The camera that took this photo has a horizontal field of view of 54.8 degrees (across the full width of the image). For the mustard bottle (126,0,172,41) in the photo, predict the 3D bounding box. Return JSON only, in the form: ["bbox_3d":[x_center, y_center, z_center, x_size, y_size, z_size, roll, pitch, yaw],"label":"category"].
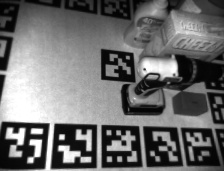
[{"bbox_3d":[0.109,-0.198,0.591,0.096,0.191,0.058,16,67,-8],"label":"mustard bottle"}]

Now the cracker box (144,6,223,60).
[{"bbox_3d":[0.197,-0.100,0.571,0.165,0.213,0.071,1,67,-12],"label":"cracker box"}]

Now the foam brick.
[{"bbox_3d":[0.228,0.039,0.620,0.078,0.051,0.052,6,69,-13],"label":"foam brick"}]

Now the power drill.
[{"bbox_3d":[0.135,-0.008,0.500,0.186,0.186,0.057,2,65,-15],"label":"power drill"}]

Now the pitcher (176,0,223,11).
[{"bbox_3d":[0.241,-0.194,0.615,0.190,0.242,0.133,9,67,-9],"label":"pitcher"}]

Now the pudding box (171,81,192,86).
[{"bbox_3d":[0.178,-0.036,0.600,0.114,0.090,0.038,4,66,-11],"label":"pudding box"}]
